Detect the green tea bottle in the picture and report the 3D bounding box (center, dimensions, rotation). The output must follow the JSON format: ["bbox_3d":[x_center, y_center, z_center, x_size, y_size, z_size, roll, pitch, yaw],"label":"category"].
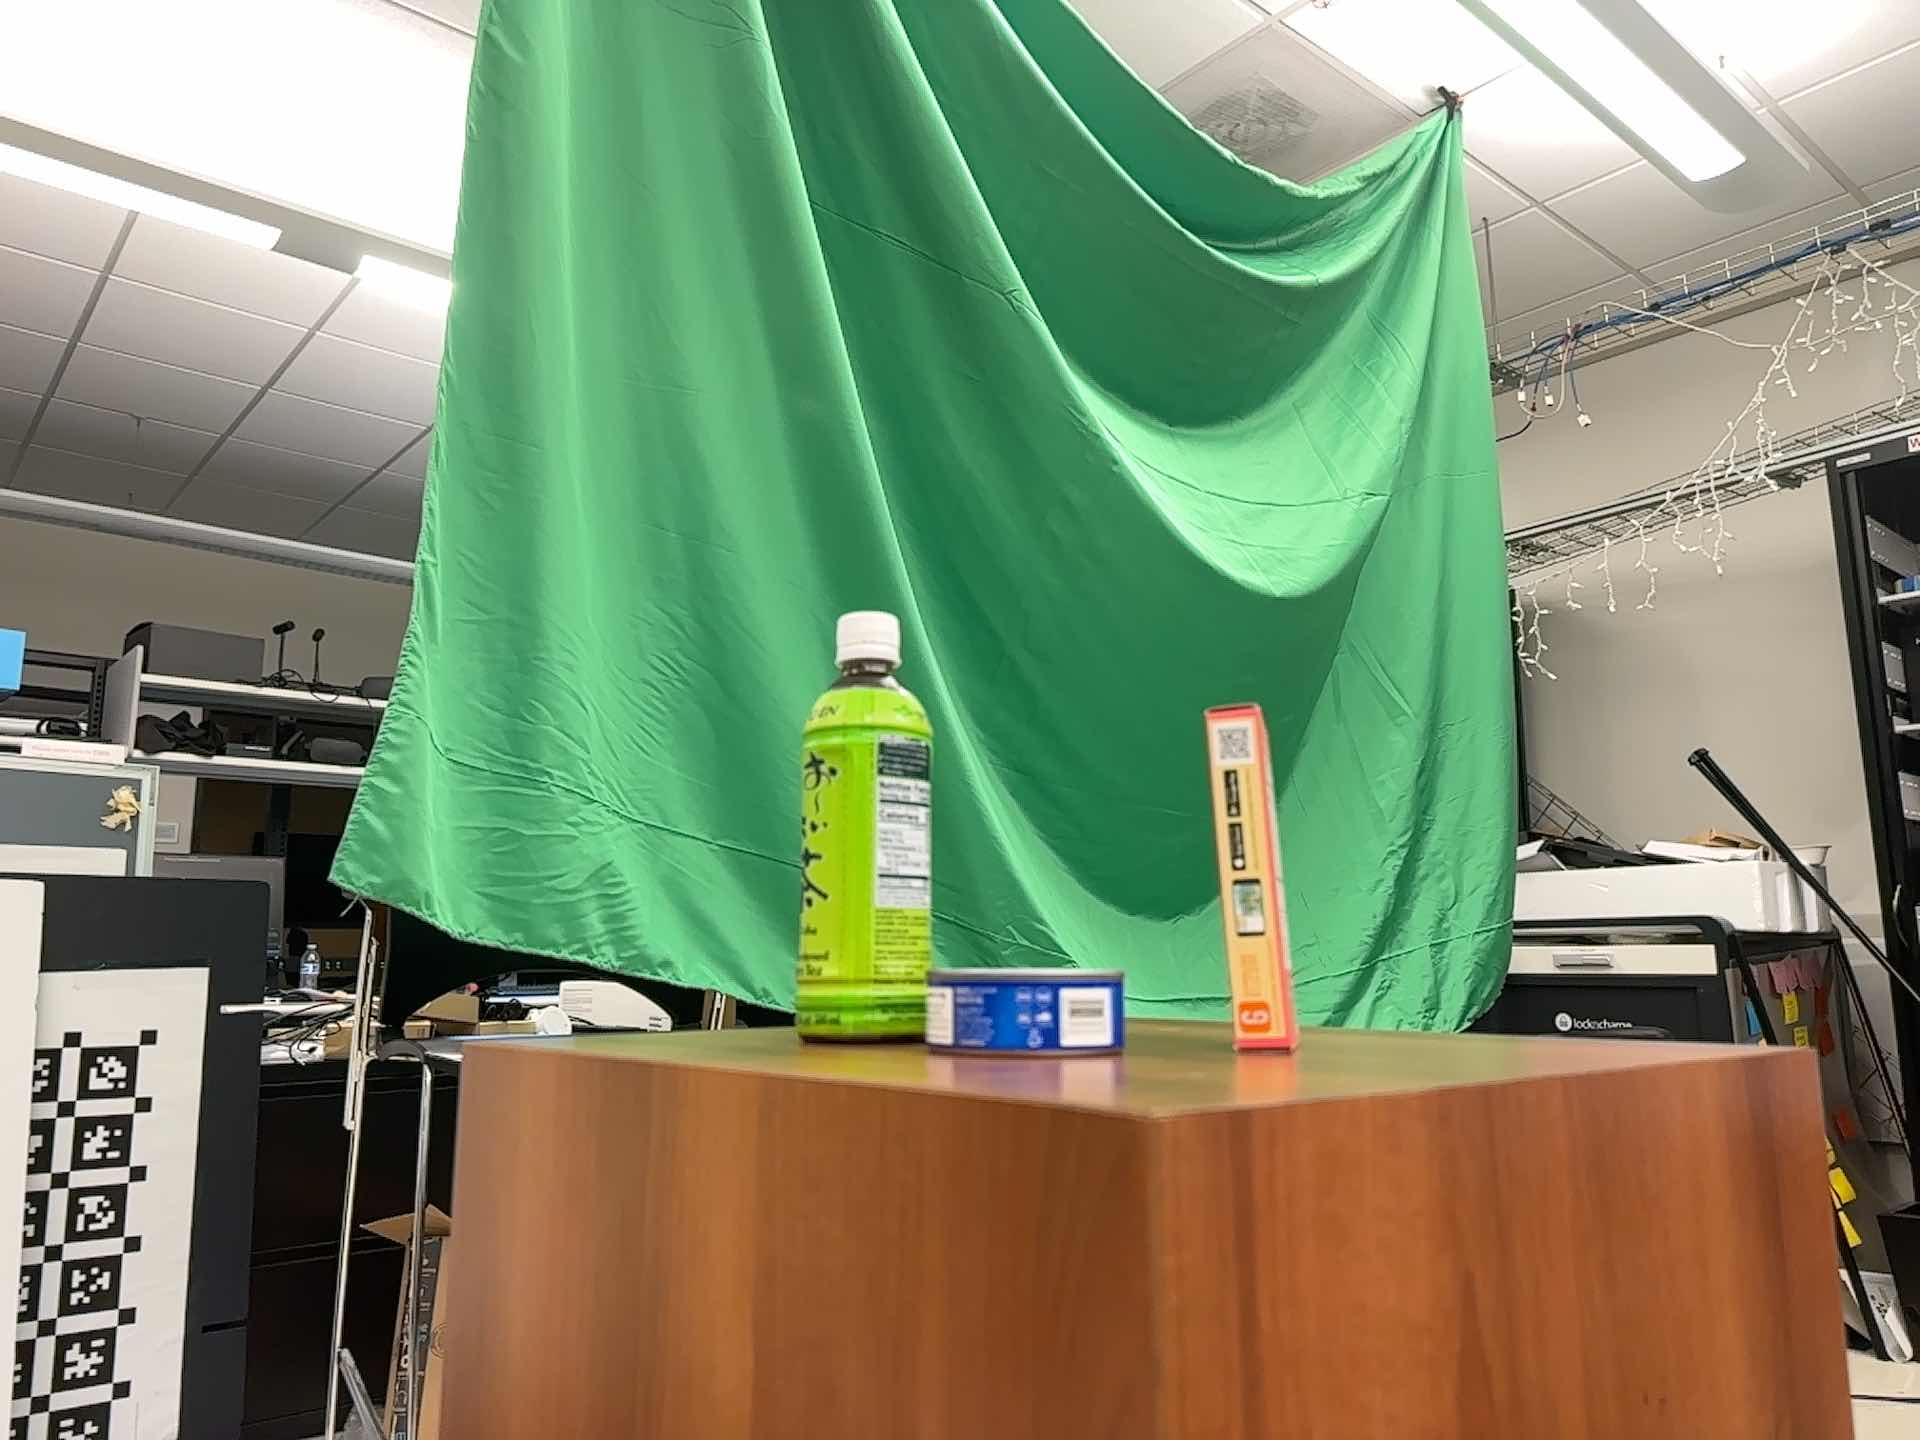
[{"bbox_3d":[-0.046,0.052,0.651,0.073,0.212,0.073,0,-11,0],"label":"green tea bottle"}]

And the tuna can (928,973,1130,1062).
[{"bbox_3d":[0.029,0.123,0.563,0.083,0.034,0.083,0,-10,0],"label":"tuna can"}]

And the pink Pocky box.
[{"bbox_3d":[0.137,0.073,0.619,0.029,0.155,0.084,-6,-10,14],"label":"pink Pocky box"}]
